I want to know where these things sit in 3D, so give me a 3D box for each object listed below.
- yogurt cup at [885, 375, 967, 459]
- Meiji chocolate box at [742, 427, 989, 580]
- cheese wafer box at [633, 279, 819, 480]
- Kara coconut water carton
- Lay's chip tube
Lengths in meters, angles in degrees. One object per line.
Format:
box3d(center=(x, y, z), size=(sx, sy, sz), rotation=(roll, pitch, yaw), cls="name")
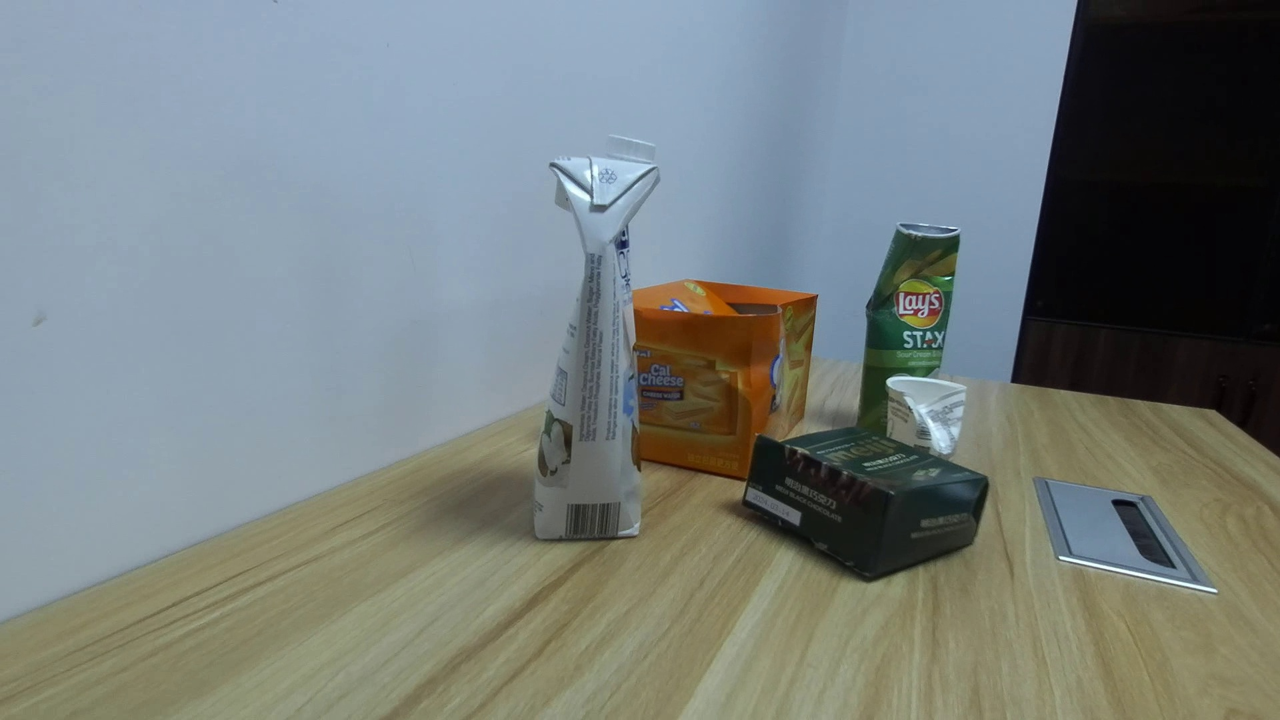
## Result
box3d(center=(0.233, 0.055, 0.589), size=(0.067, 0.070, 0.067), rotation=(2, 12, 0), cls="yogurt cup")
box3d(center=(0.146, 0.087, 0.461), size=(0.116, 0.058, 0.122), rotation=(-1, 13, -36), cls="Meiji chocolate box")
box3d(center=(0.065, 0.007, 0.637), size=(0.152, 0.132, 0.231), rotation=(10, 13, 22), cls="cheese wafer box")
box3d(center=(-0.026, -0.013, 0.432), size=(0.069, 0.238, 0.115), rotation=(3, 13, -8), cls="Kara coconut water carton")
box3d(center=(0.251, -0.027, 0.666), size=(0.069, 0.201, 0.077), rotation=(10, 16, 24), cls="Lay's chip tube")
